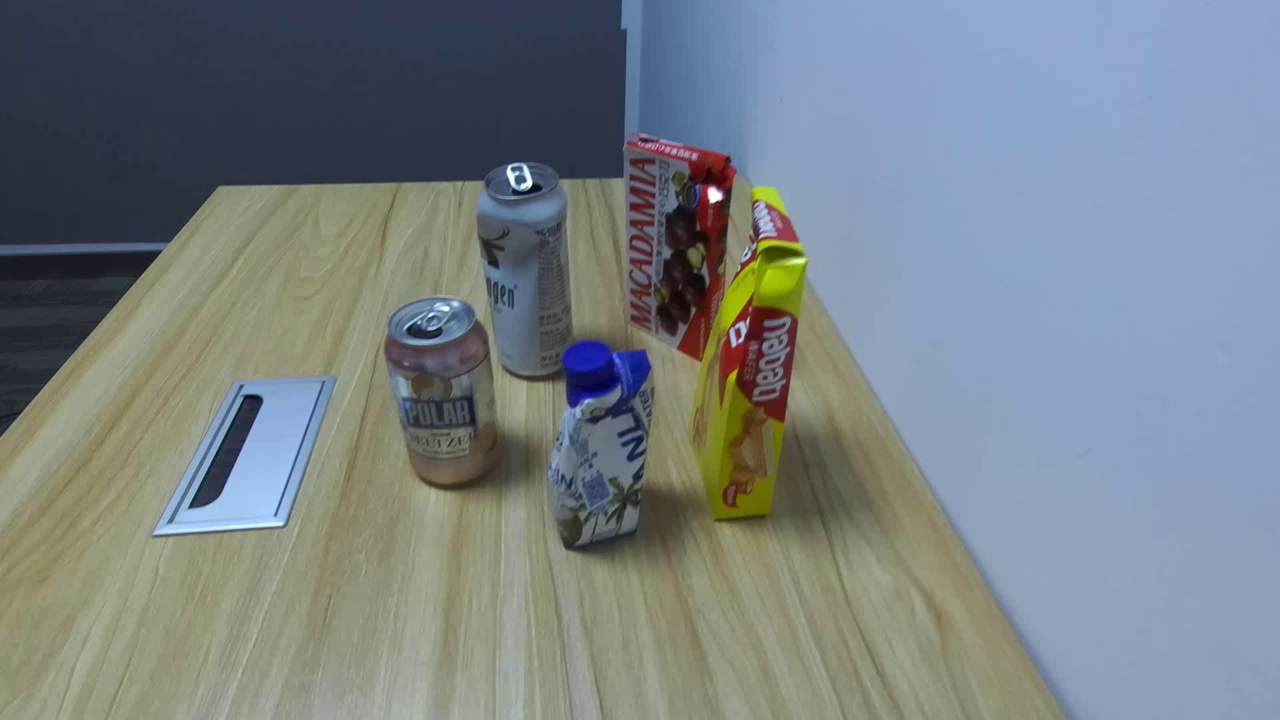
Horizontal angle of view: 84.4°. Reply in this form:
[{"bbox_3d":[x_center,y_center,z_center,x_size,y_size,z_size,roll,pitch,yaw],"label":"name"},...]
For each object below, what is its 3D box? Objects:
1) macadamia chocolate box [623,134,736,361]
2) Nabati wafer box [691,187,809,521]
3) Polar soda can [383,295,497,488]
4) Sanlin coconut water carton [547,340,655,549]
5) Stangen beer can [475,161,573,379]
[{"bbox_3d":[0.032,-0.090,0.584,0.102,0.187,0.027,28,48,31],"label":"macadamia chocolate box"},{"bbox_3d":[0.068,0.001,0.451,0.042,0.205,0.113,-1,37,-6],"label":"Nabati wafer box"},{"bbox_3d":[-0.134,0.022,0.486,0.067,0.126,0.067,1,37,-1],"label":"Polar soda can"},{"bbox_3d":[-0.019,0.053,0.436,0.069,0.144,0.056,-5,44,-21],"label":"Sanlin coconut water carton"},{"bbox_3d":[-0.089,-0.067,0.561,0.070,0.173,0.070,-6,35,-9],"label":"Stangen beer can"}]
